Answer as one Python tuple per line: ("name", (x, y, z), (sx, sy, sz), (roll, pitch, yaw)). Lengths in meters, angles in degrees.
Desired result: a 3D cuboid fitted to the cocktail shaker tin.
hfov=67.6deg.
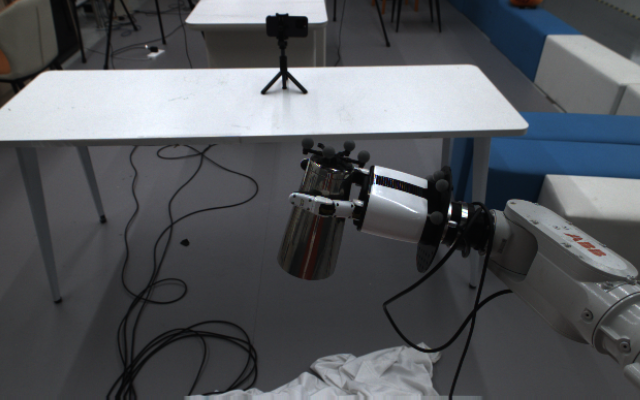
("cocktail shaker tin", (0.001, 0.019, 0.714), (0.093, 0.170, 0.093), (12, 25, -6))
